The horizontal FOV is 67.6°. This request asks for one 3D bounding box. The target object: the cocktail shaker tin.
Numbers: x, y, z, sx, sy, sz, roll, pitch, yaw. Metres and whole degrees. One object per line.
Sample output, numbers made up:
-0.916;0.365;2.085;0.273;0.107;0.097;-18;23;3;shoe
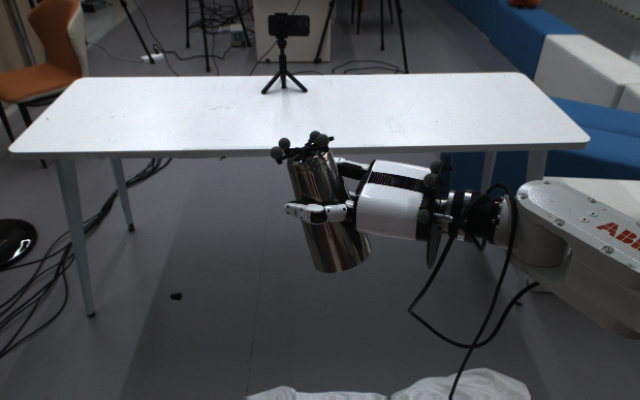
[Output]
0.009;0.010;0.711;0.093;0.170;0.093;-17;20;7;cocktail shaker tin
